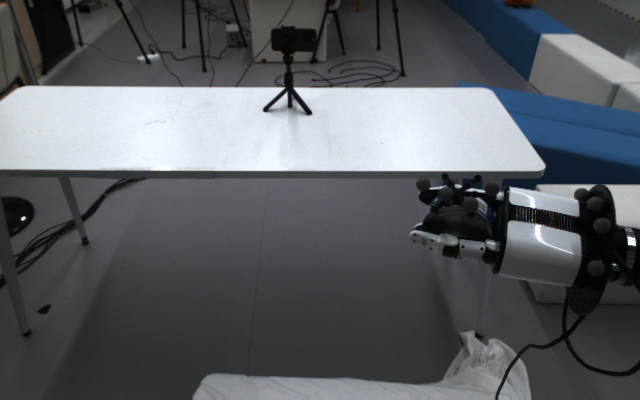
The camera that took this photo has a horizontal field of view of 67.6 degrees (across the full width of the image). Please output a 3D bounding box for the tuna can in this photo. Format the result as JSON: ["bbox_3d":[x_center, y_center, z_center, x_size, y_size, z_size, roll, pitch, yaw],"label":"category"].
[{"bbox_3d":[0.176,0.029,0.611,0.085,0.085,0.034,14,41,16],"label":"tuna can"}]
